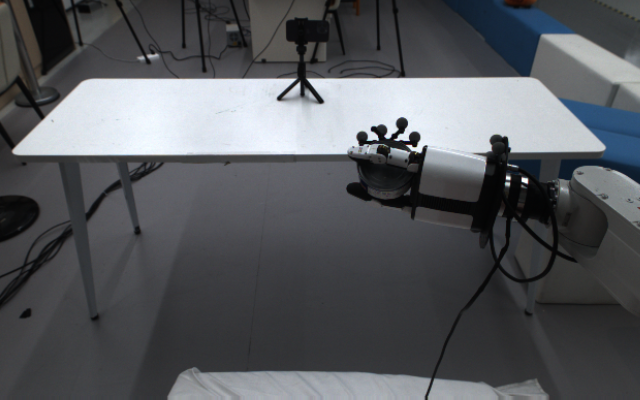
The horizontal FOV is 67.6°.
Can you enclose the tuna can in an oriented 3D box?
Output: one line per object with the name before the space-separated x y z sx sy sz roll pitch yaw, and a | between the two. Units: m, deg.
tuna can | 0.099 -0.041 0.712 0.085 0.034 0.085 -4 62 7
